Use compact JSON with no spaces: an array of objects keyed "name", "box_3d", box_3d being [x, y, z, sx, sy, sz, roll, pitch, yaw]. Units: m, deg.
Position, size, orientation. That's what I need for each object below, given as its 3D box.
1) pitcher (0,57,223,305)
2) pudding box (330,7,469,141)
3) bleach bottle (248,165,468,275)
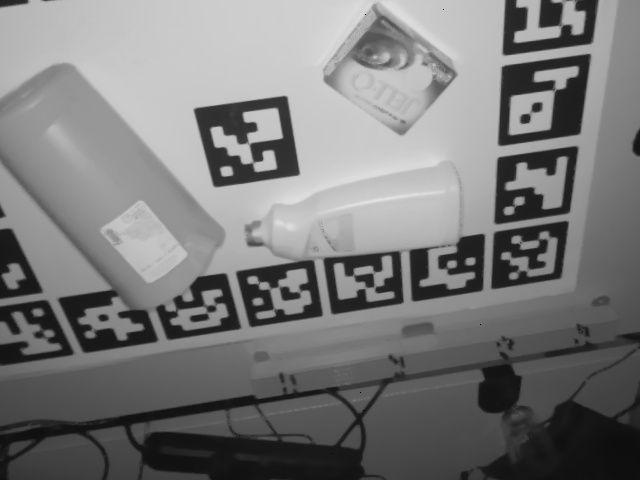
[{"name":"pitcher","box_3d":[-0.228,-0.060,0.721,0.186,0.135,0.243,-7,128,42]},{"name":"pudding box","box_3d":[0.081,-0.169,0.712,0.114,0.039,0.089,33,120,-24]},{"name":"bleach bottle","box_3d":[0.040,-0.016,0.803,0.251,0.068,0.102,-9,120,2]}]
